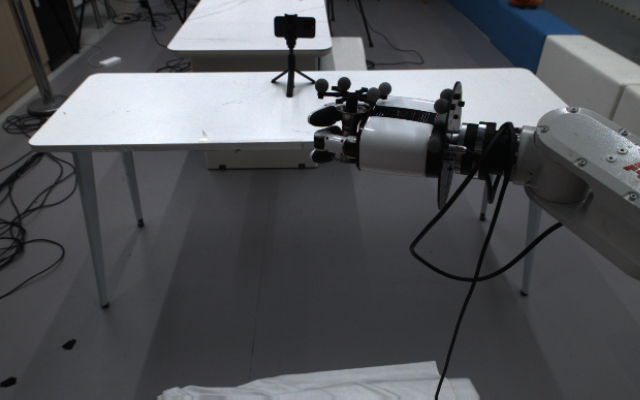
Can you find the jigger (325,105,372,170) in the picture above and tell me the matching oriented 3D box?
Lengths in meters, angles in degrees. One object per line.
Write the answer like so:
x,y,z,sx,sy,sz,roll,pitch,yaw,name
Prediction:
0.042,-0.088,0.644,0.043,0.071,0.043,3,25,-1,jigger
